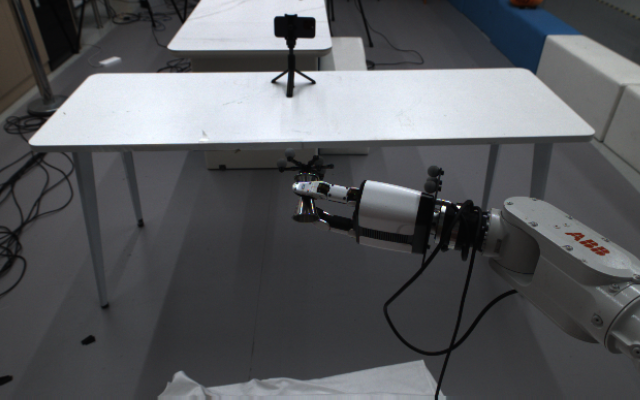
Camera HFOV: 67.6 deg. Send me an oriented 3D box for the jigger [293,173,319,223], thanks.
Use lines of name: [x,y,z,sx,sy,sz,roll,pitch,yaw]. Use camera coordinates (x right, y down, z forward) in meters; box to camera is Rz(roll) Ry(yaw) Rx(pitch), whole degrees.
jigger: [-0.022,-0.005,0.749,0.043,0.043,0.071,1,70,-2]
